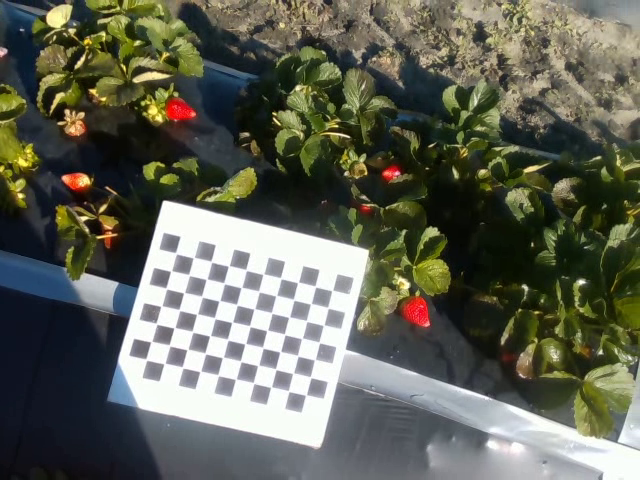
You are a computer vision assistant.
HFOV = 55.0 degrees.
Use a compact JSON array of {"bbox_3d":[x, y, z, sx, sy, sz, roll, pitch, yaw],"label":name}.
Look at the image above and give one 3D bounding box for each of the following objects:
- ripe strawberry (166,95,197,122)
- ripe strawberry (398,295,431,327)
[{"bbox_3d":[-0.246,-0.230,1.082,0.064,0.050,0.052,19,-6,8],"label":"ripe strawberry"},{"bbox_3d":[0.143,0.110,0.897,0.048,0.055,0.030,-32,-3,-6],"label":"ripe strawberry"}]
